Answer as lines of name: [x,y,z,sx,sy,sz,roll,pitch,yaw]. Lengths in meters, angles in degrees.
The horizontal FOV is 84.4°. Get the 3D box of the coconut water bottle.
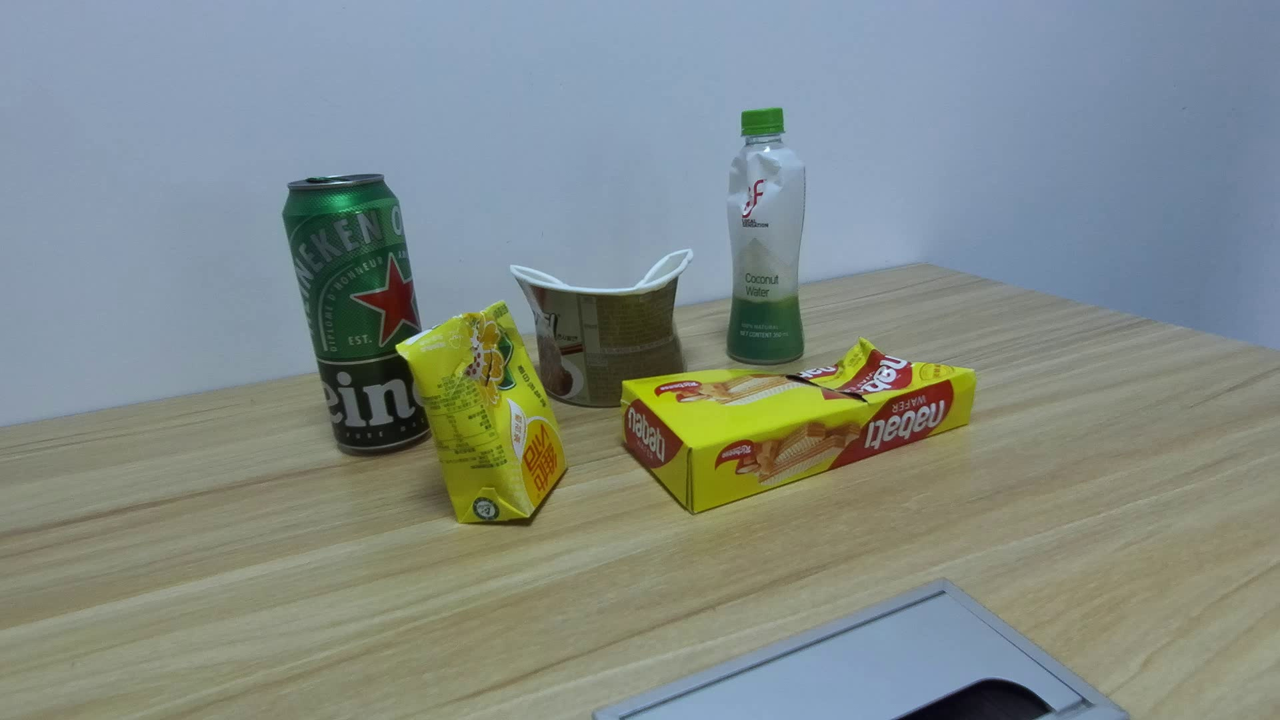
coconut water bottle: [0.095,-0.093,0.545,0.069,0.186,0.069,-4,17,1]

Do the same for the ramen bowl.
ramen bowl: [-0.025,-0.026,0.520,0.137,0.098,0.137,-5,20,2]

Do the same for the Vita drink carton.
Vita drink carton: [-0.084,0.026,0.380,0.042,0.108,0.087,-12,14,17]

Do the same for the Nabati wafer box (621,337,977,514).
Nabati wafer box: [0.097,0.027,0.437,0.205,0.042,0.106,-11,23,-23]

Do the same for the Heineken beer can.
Heineken beer can: [-0.174,-0.027,0.446,0.067,0.169,0.067,-4,20,2]
